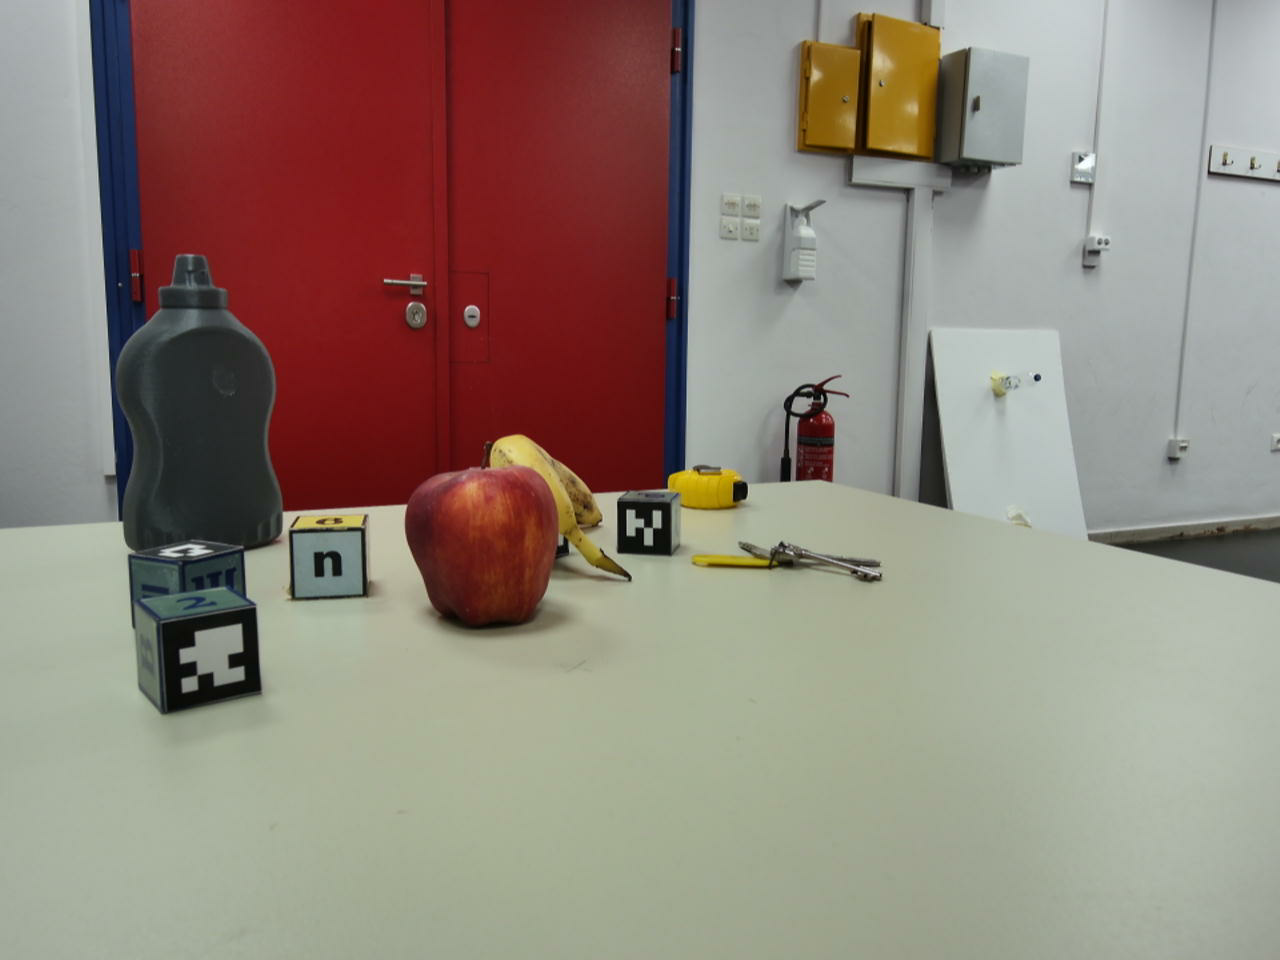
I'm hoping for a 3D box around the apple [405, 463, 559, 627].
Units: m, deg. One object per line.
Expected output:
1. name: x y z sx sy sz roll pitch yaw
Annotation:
1. apple: -0.081 0.027 0.512 0.083 0.090 0.083 1 6 0
